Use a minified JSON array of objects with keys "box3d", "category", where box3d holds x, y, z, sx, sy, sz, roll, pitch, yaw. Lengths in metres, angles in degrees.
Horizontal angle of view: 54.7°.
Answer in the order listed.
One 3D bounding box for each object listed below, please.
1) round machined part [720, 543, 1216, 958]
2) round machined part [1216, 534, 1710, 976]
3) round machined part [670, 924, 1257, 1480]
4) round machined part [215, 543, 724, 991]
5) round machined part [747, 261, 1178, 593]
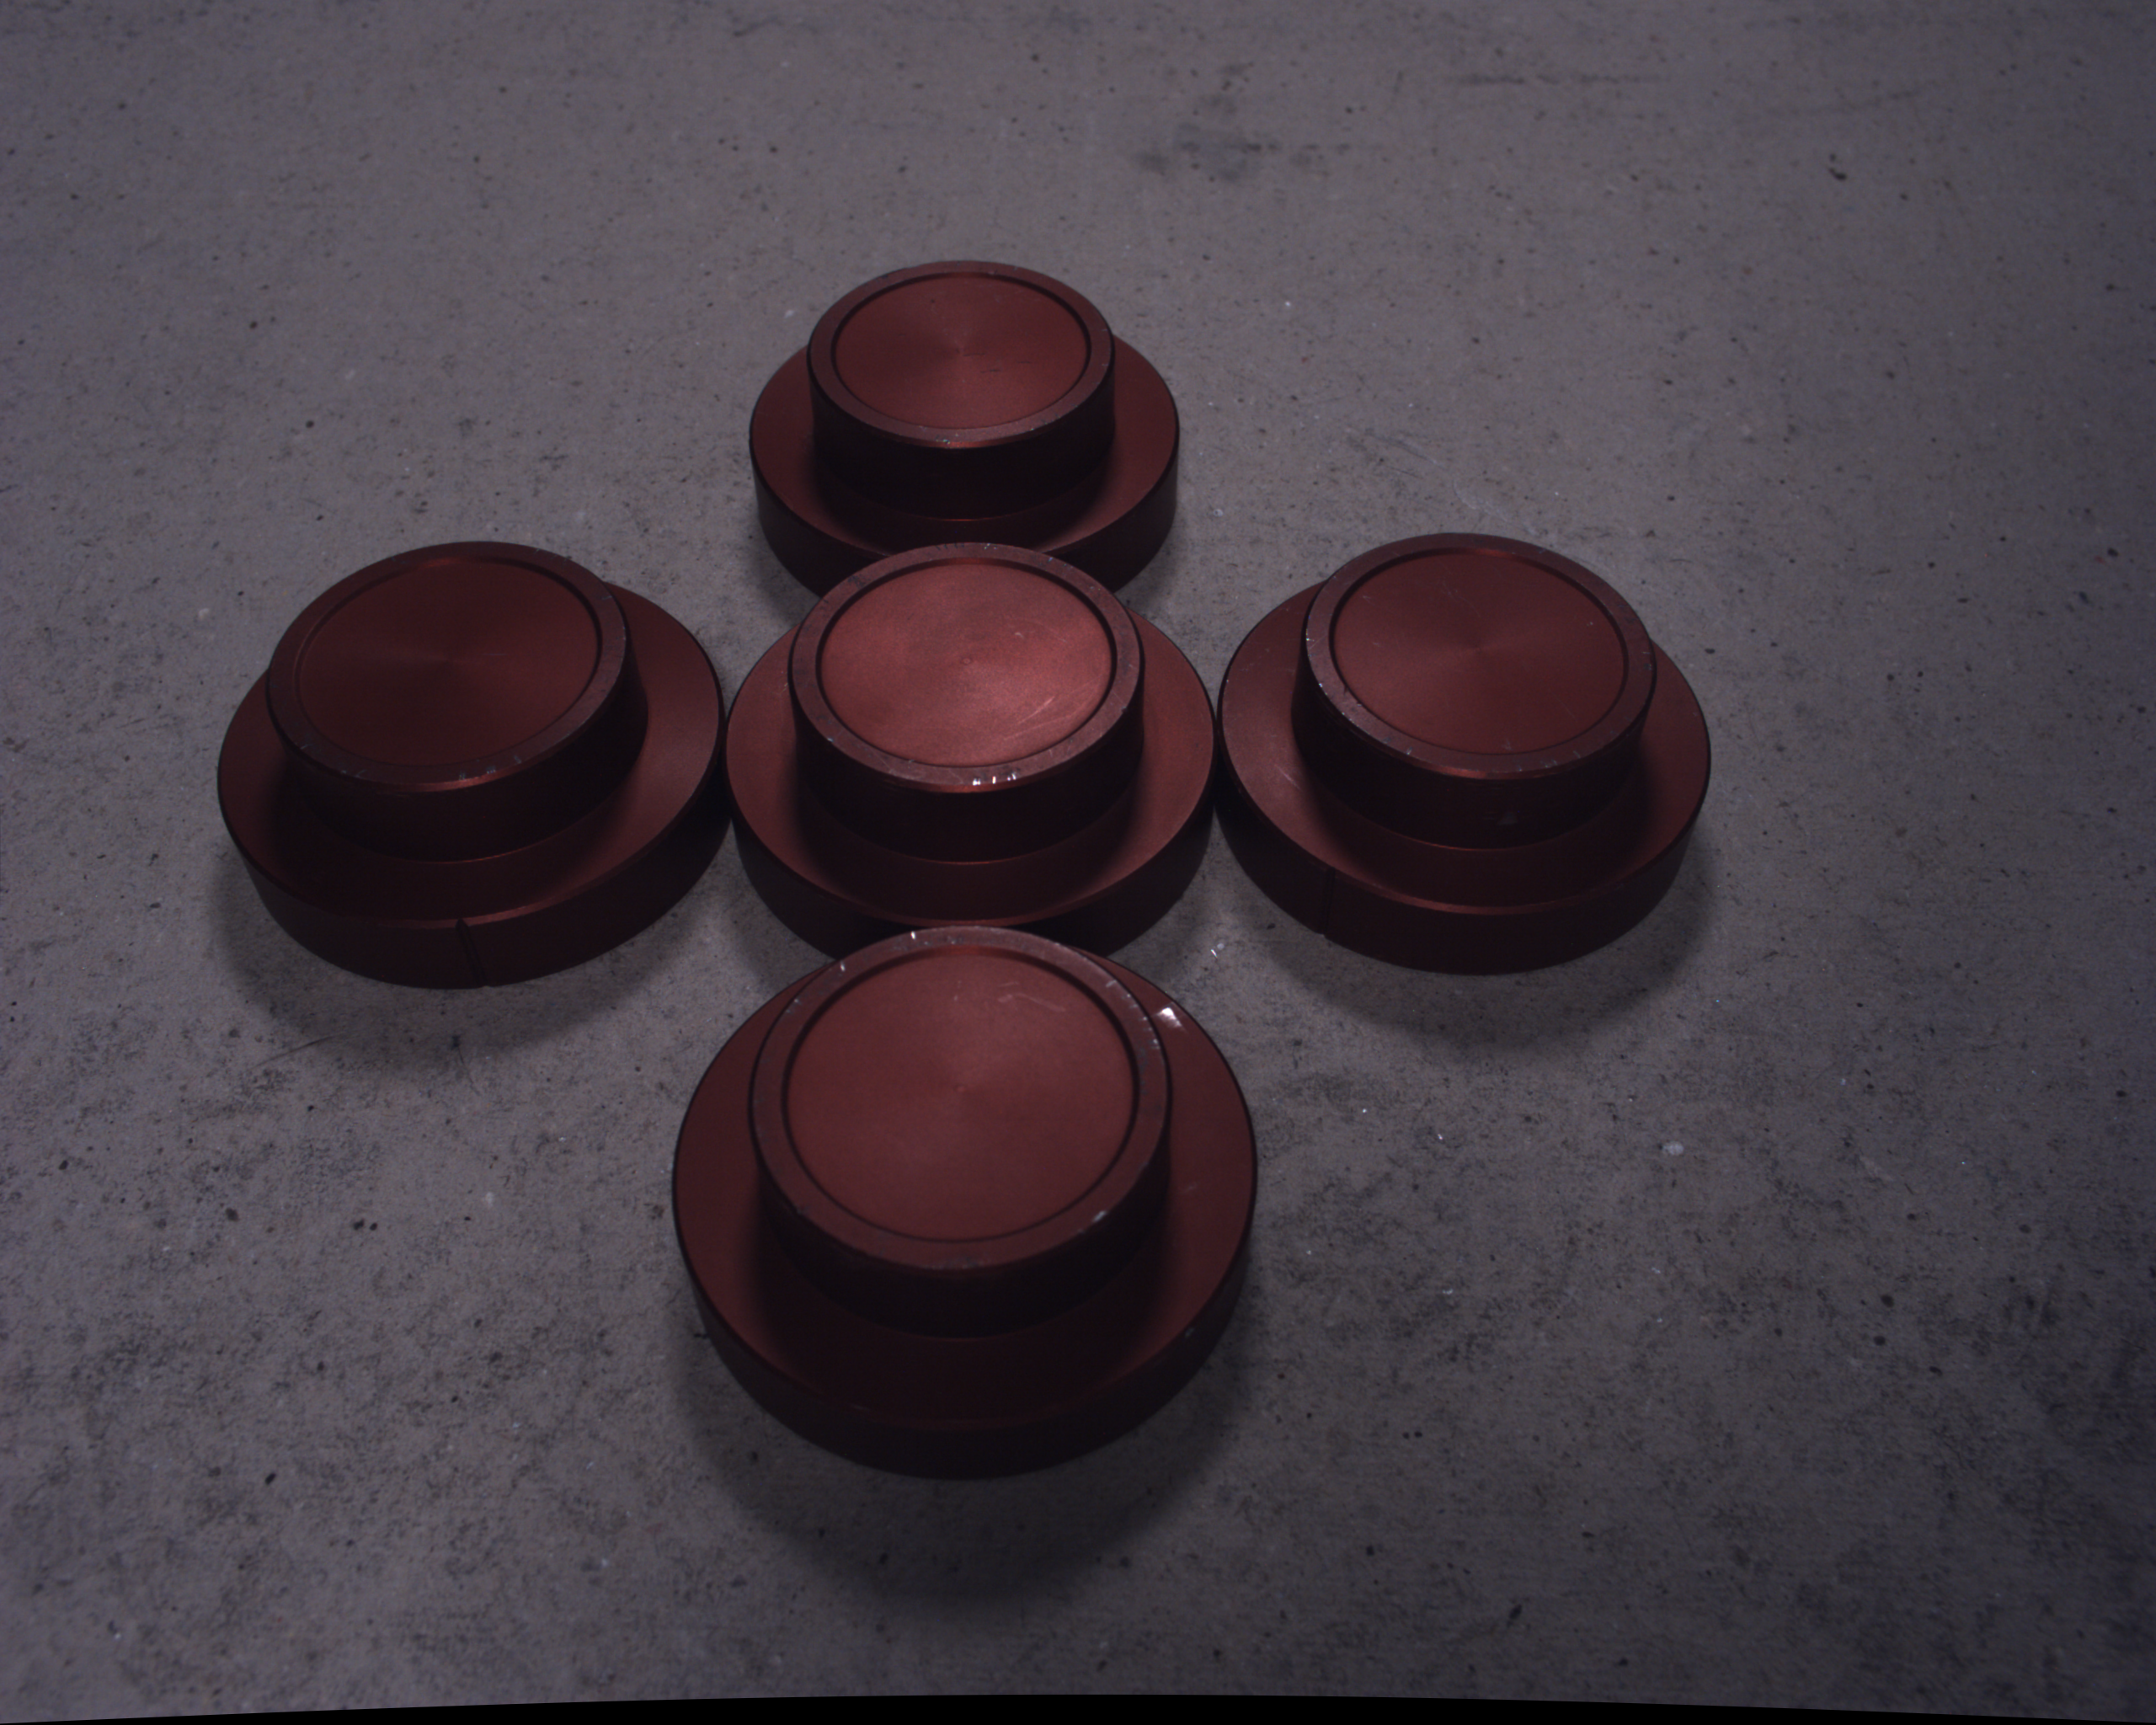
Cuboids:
[{"box3d":[-0.022,-0.026,0.415,0.099,0.042,0.098,0,50,0],"category":"round machined part"},{"box3d":[0.077,-0.028,0.419,0.099,0.042,0.098,0,50,0],"category":"round machined part"},{"box3d":[-0.019,0.049,0.352,0.099,0.042,0.098,0,50,0],"category":"round machined part"},{"box3d":[-0.120,-0.026,0.414,0.099,0.042,0.098,0,50,0],"category":"round machined part"},{"box3d":[-0.026,-0.101,0.478,0.099,0.042,0.098,0,50,0],"category":"round machined part"}]
